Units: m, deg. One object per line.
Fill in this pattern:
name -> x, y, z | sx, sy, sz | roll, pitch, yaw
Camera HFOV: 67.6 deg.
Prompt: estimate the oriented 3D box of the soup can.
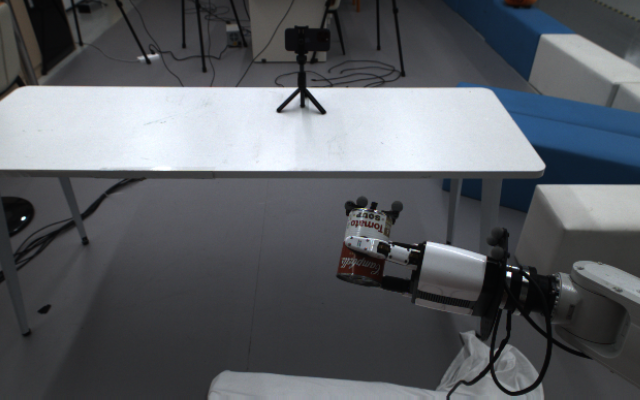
soup can -> 0.068, 0.069, 0.715 | 0.067, 0.067, 0.101 | 9, 72, 10
